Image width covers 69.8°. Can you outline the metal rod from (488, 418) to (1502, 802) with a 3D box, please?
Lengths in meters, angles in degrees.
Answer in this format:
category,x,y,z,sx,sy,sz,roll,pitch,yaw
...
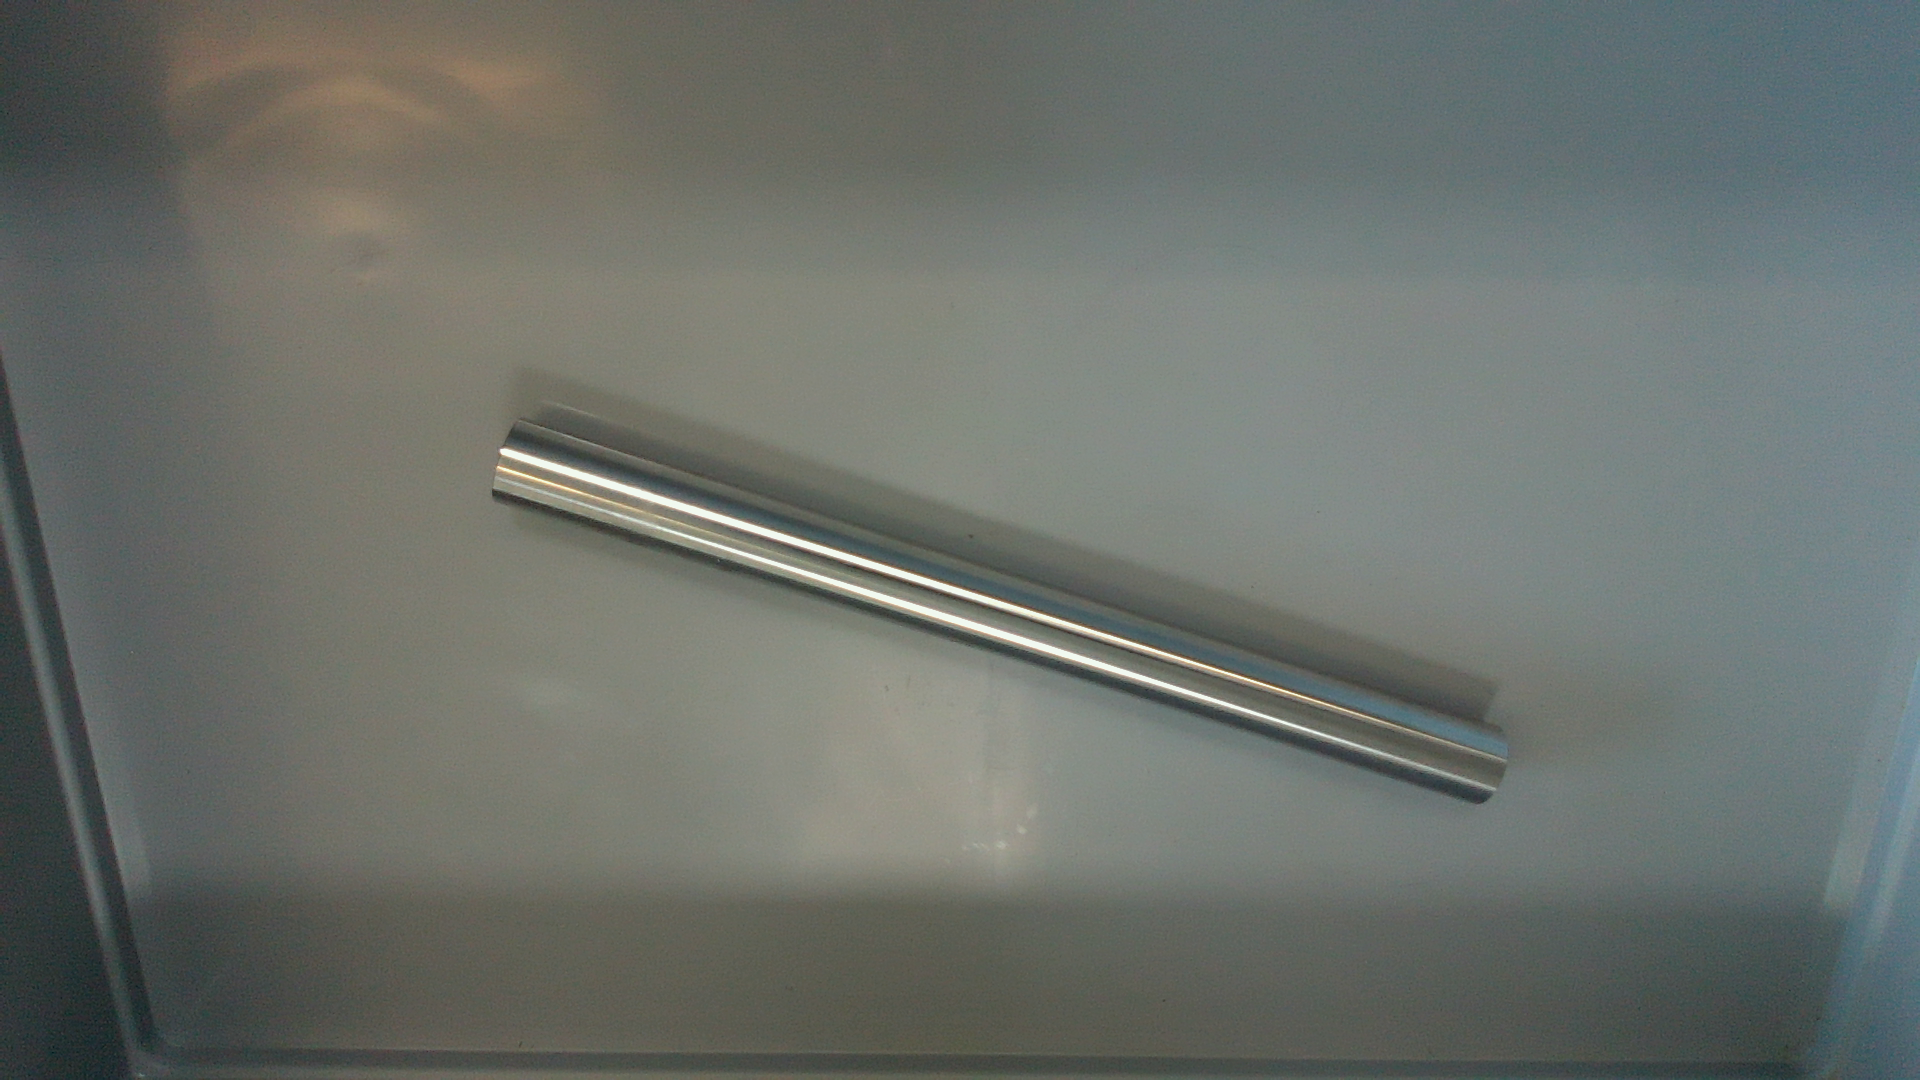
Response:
category,x,y,z,sx,sy,sz,roll,pitch,yaw
metal rod,0.015,0.023,0.401,0.300,0.025,0.025,18,109,-7
